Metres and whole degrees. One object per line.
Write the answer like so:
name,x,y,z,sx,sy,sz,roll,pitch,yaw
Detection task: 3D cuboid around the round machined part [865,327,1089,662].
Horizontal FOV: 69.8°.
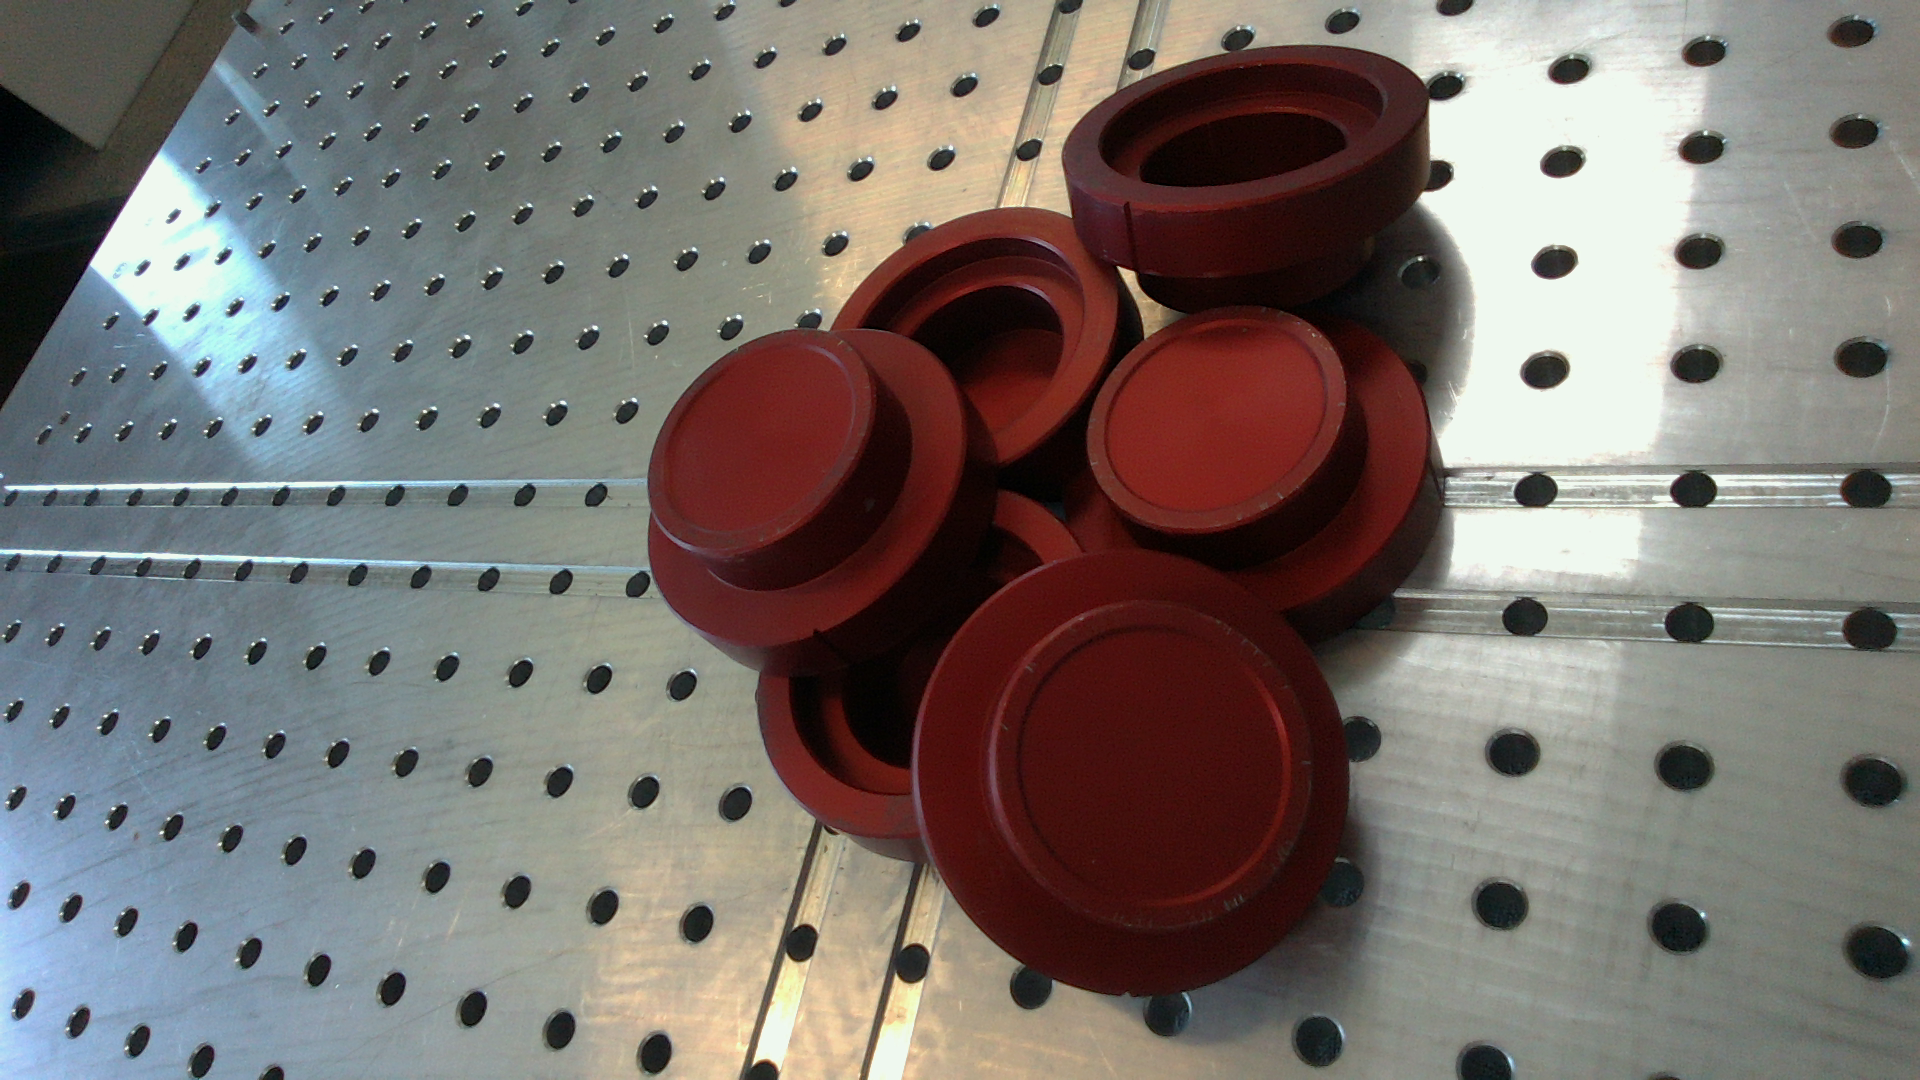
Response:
round machined part,-0.008,-0.009,0.396,0.098,0.042,0.098,-13,56,21

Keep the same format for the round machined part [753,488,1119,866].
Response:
round machined part,-0.002,0.038,0.363,0.098,0.042,0.098,-13,56,21

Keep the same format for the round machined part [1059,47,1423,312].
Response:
round machined part,0.080,-0.099,0.389,0.098,0.042,0.098,-9,39,8

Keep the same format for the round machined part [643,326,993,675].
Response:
round machined part,-0.044,-0.017,0.365,0.098,0.042,0.098,-13,56,21

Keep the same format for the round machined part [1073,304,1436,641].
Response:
round machined part,0.071,-0.022,0.361,0.098,0.042,0.098,-13,56,21

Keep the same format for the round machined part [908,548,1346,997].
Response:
round machined part,0.038,0.050,0.303,0.098,0.042,0.098,1,78,-4

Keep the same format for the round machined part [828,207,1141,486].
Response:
round machined part,0.008,-0.048,0.411,0.098,0.042,0.098,-13,56,21
